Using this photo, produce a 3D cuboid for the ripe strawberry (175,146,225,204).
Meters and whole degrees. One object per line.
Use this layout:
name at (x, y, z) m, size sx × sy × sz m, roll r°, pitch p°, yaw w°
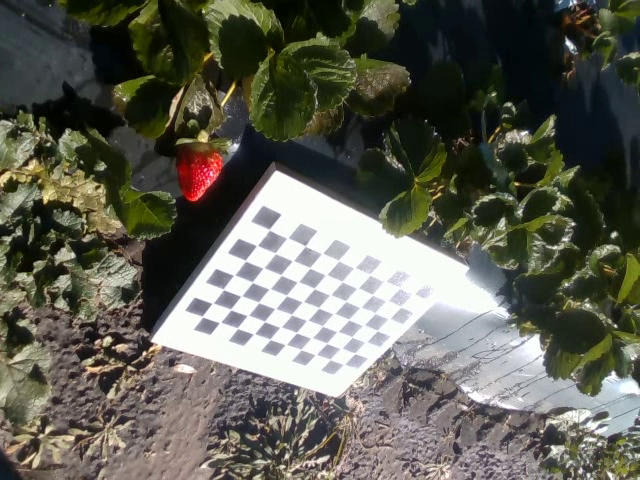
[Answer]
ripe strawberry at (-0.119, -0.065, 0.588) m, size 0.048 × 0.068 × 0.040 m, roll 8°, pitch 29°, yaw -19°
